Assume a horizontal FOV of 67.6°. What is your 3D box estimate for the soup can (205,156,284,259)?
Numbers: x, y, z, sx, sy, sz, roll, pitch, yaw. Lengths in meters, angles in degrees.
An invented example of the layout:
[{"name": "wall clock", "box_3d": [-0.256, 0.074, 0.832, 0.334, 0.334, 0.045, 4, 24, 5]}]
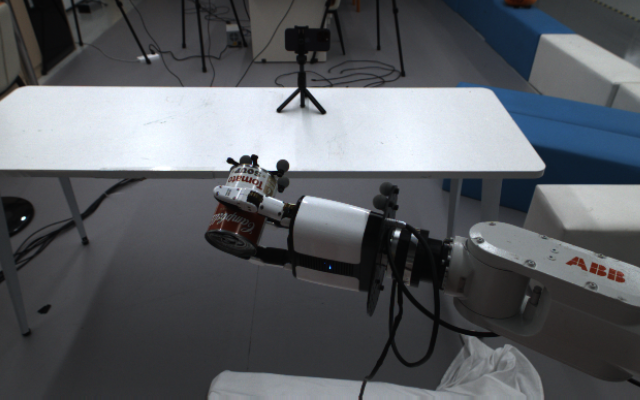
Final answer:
[{"name": "soup can", "box_3d": [-0.098, 0.013, 0.626, 0.067, 0.067, 0.101, 9, 60, 10]}]
